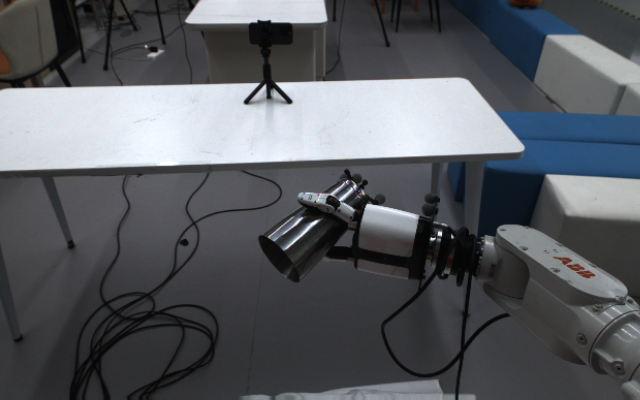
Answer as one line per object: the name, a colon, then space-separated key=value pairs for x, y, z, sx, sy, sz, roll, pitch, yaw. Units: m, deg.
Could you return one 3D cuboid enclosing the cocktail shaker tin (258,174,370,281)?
cocktail shaker tin: x=-0.003 y=0.035 z=0.763 sx=0.170 sy=0.093 sz=0.093 roll=-38 pitch=49 yaw=-23
